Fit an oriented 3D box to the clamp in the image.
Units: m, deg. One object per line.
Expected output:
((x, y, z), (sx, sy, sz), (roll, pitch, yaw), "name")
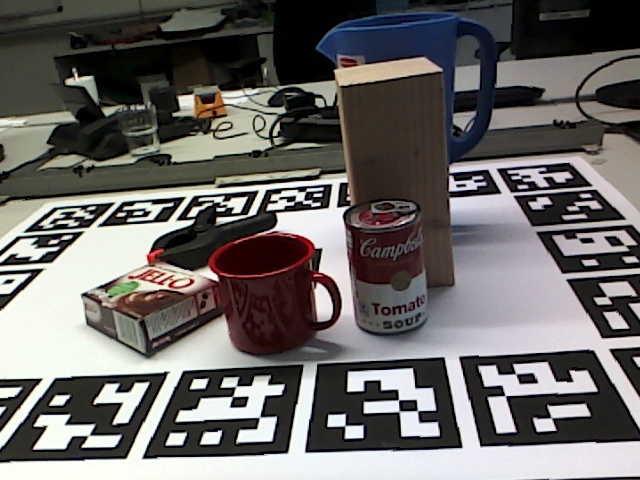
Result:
((-0.137, 0.000, 0.753), (0.122, 0.036, 0.164), (16, 33, 29), "clamp")

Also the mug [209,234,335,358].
((-0.035, 0.052, 0.537), (0.118, 0.081, 0.093), (12, 29, 40), "mug")

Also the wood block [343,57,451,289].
((0.073, -0.062, 0.597), (0.090, 0.206, 0.091), (-3, 24, 2), "wood block")

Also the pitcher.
((0.103, -0.130, 0.697), (0.189, 0.242, 0.133), (-8, 22, 8), "pitcher")

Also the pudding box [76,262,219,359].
((-0.169, 0.066, 0.608), (0.114, 0.038, 0.089), (13, 35, 41), "pudding box")

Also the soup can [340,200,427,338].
((0.057, 0.025, 0.539), (0.068, 0.102, 0.068), (-7, 27, 3), "soup can")
